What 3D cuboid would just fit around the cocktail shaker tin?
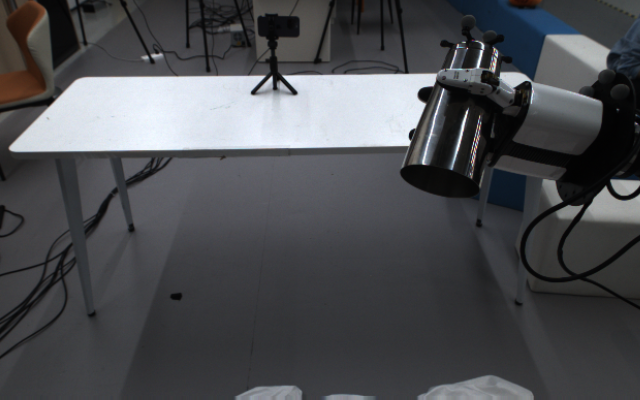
[{"bbox_3d":[0.164,-0.098,0.573,0.093,0.093,0.170,15,75,18],"label":"cocktail shaker tin"}]
